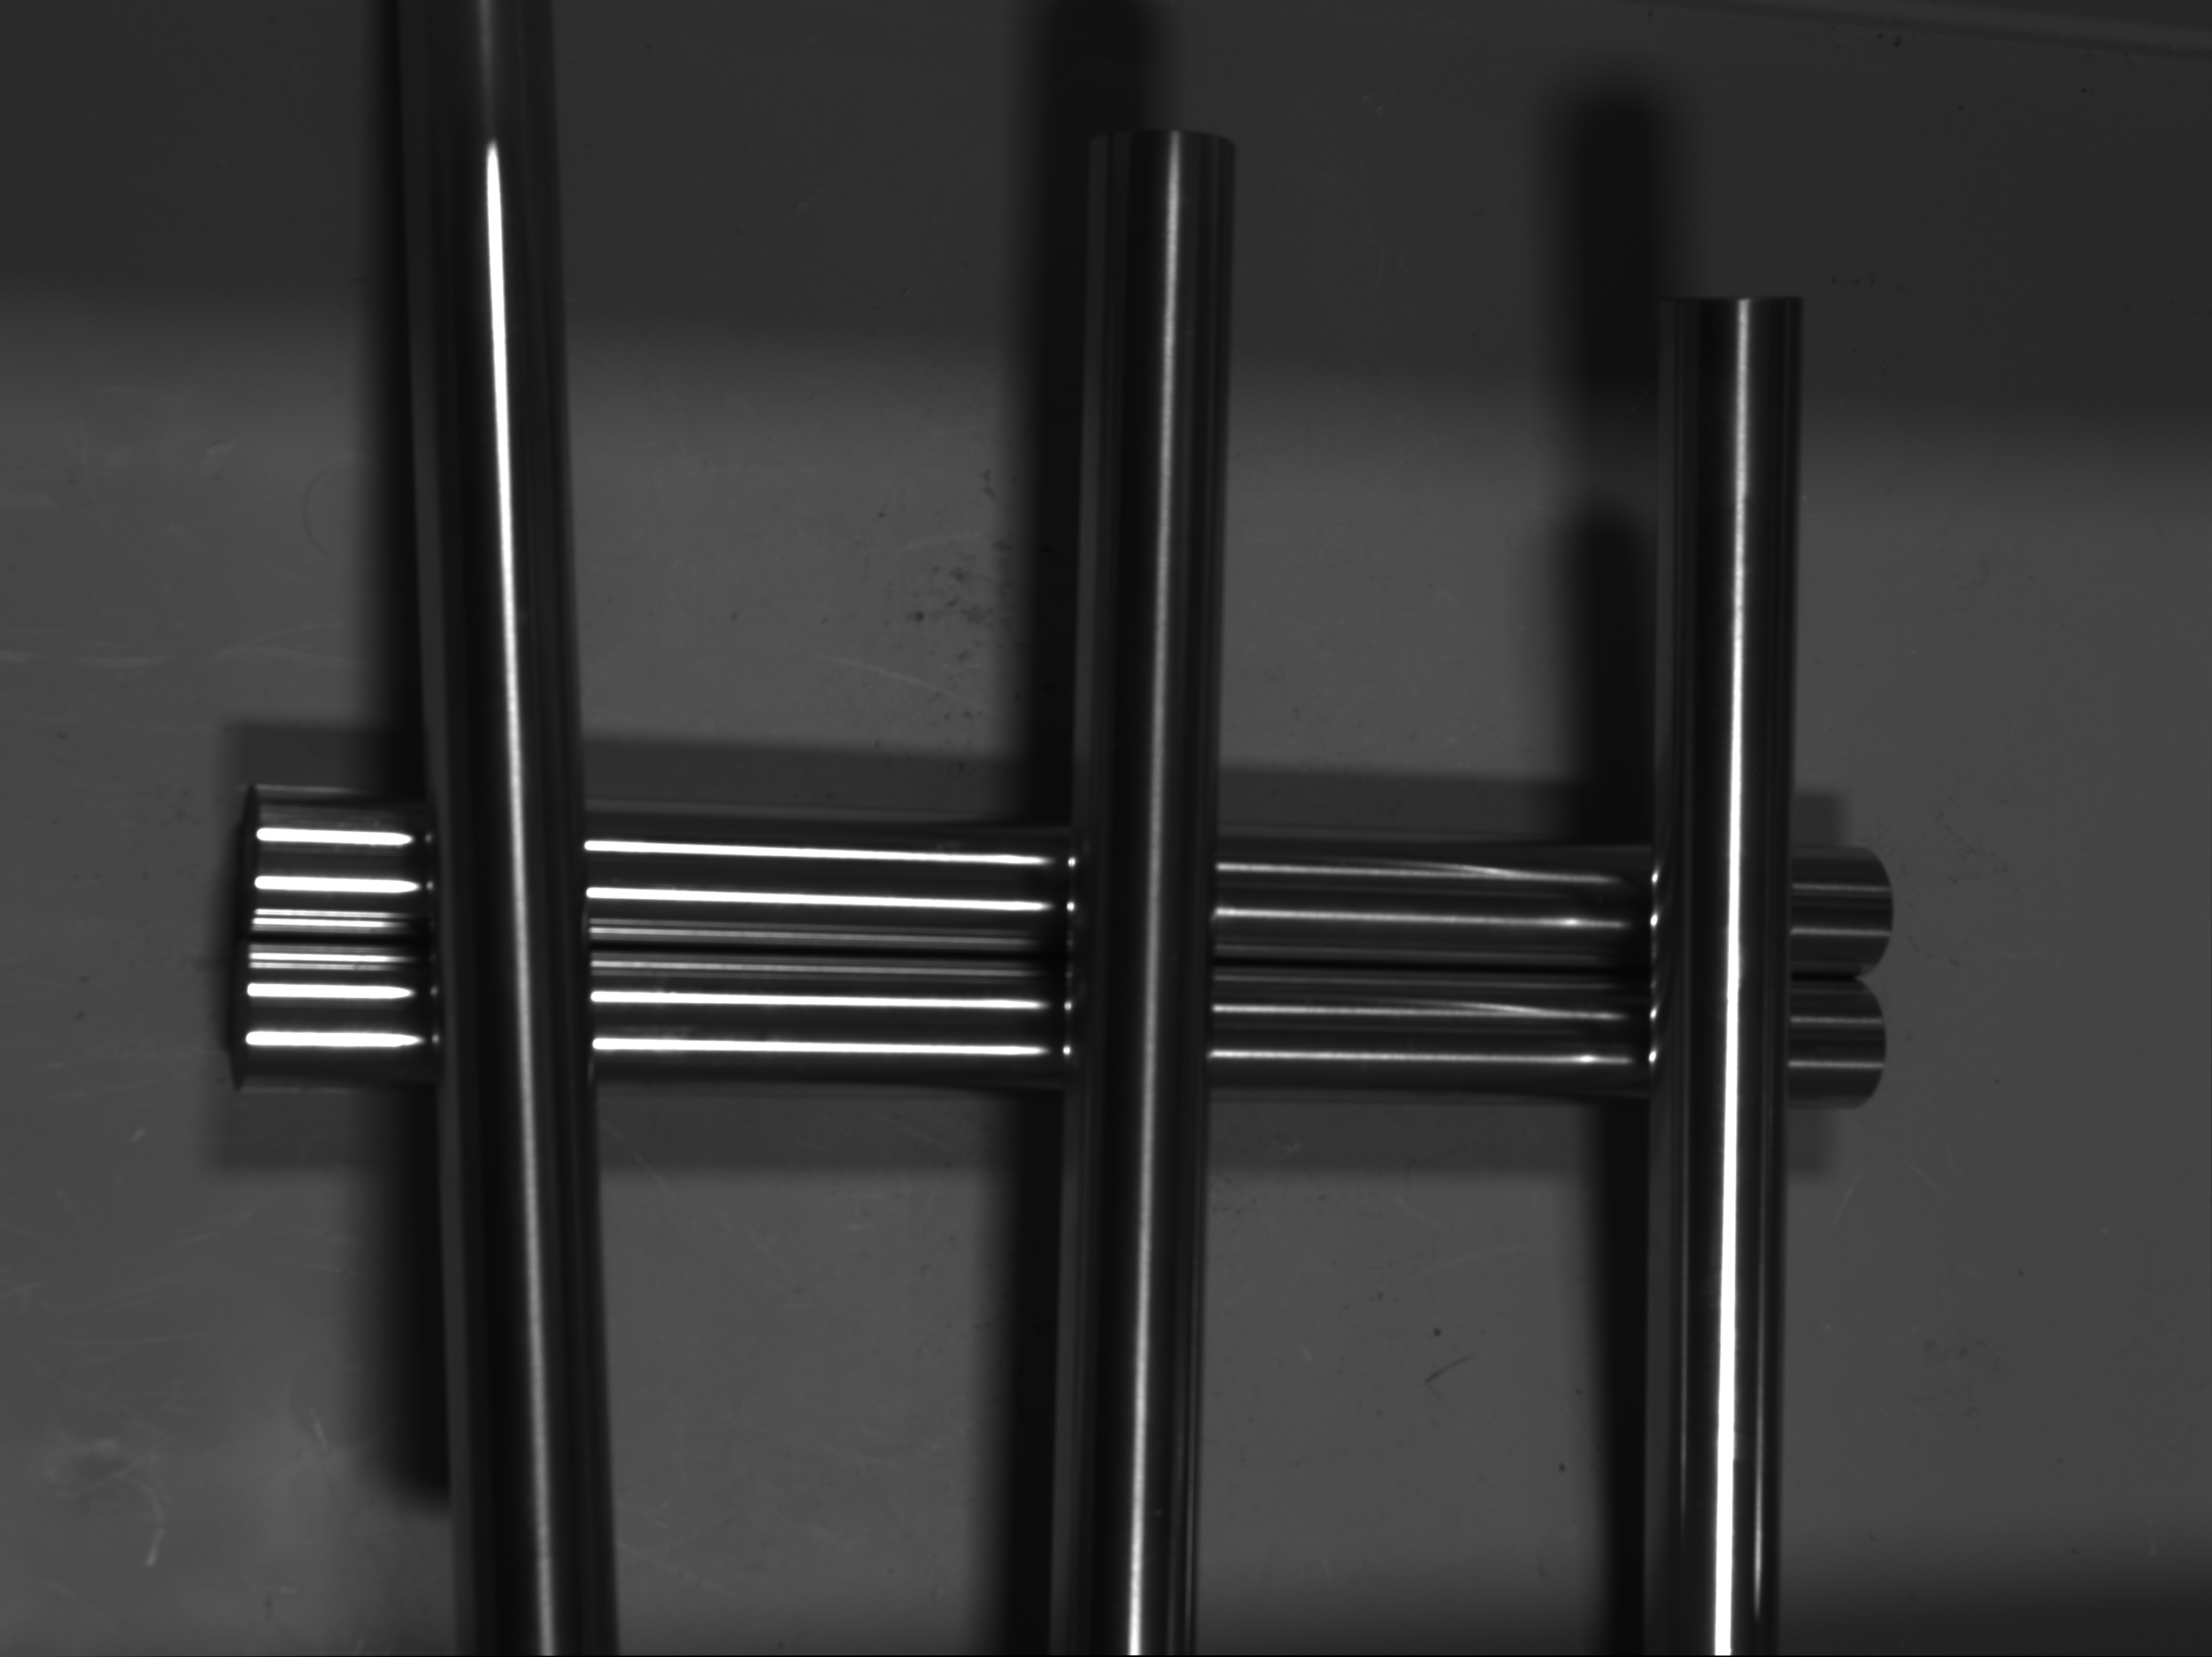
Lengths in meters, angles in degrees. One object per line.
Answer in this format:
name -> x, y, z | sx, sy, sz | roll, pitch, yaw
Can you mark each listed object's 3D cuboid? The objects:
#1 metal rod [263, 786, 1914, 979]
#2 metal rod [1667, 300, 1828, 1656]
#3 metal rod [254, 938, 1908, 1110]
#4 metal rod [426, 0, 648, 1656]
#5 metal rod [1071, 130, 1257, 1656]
metal rod -> 0.006, 0.011, 0.645 | 0.301, 0.025, 0.025 | 2, 89, -20
metal rod -> 0.115, 0.056, 0.660 | 0.025, 0.025, 0.300 | -4, 100, -20
metal rod -> 0.004, 0.036, 0.644 | 0.301, 0.025, 0.025 | 2, 89, -20
metal rod -> -0.091, -0.010, 0.584 | 0.025, 0.025, 0.300 | -1, 82, -20
metal rod -> 0.009, 0.034, 0.619 | 0.025, 0.025, 0.300 | 2, 90, -20
